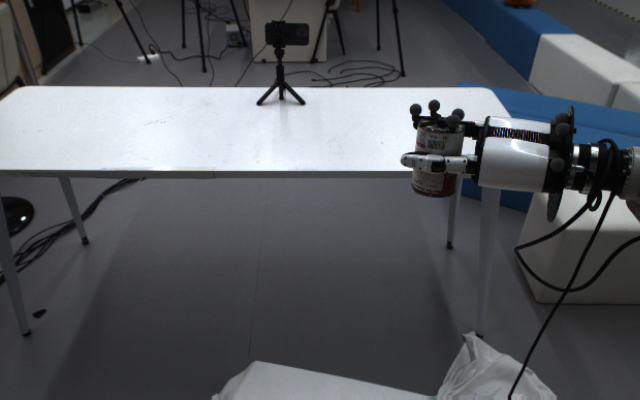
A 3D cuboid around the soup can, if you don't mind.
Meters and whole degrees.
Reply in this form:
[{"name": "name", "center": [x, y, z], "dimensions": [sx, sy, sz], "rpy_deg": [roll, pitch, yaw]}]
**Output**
[{"name": "soup can", "center": [0.174, -0.065, 0.713], "dimensions": [0.067, 0.101, 0.067], "rpy_deg": [1, 26, 0]}]
